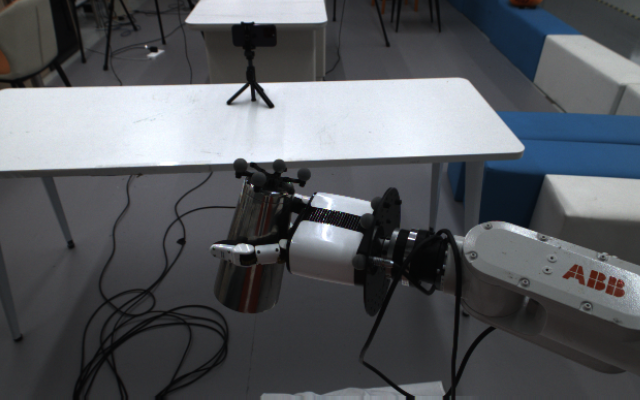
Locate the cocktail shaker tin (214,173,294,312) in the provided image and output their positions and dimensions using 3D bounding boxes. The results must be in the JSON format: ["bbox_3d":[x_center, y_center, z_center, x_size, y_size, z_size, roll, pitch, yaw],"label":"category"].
[{"bbox_3d":[-0.080,0.052,0.643,0.093,0.170,0.093,12,24,-5],"label":"cocktail shaker tin"}]
